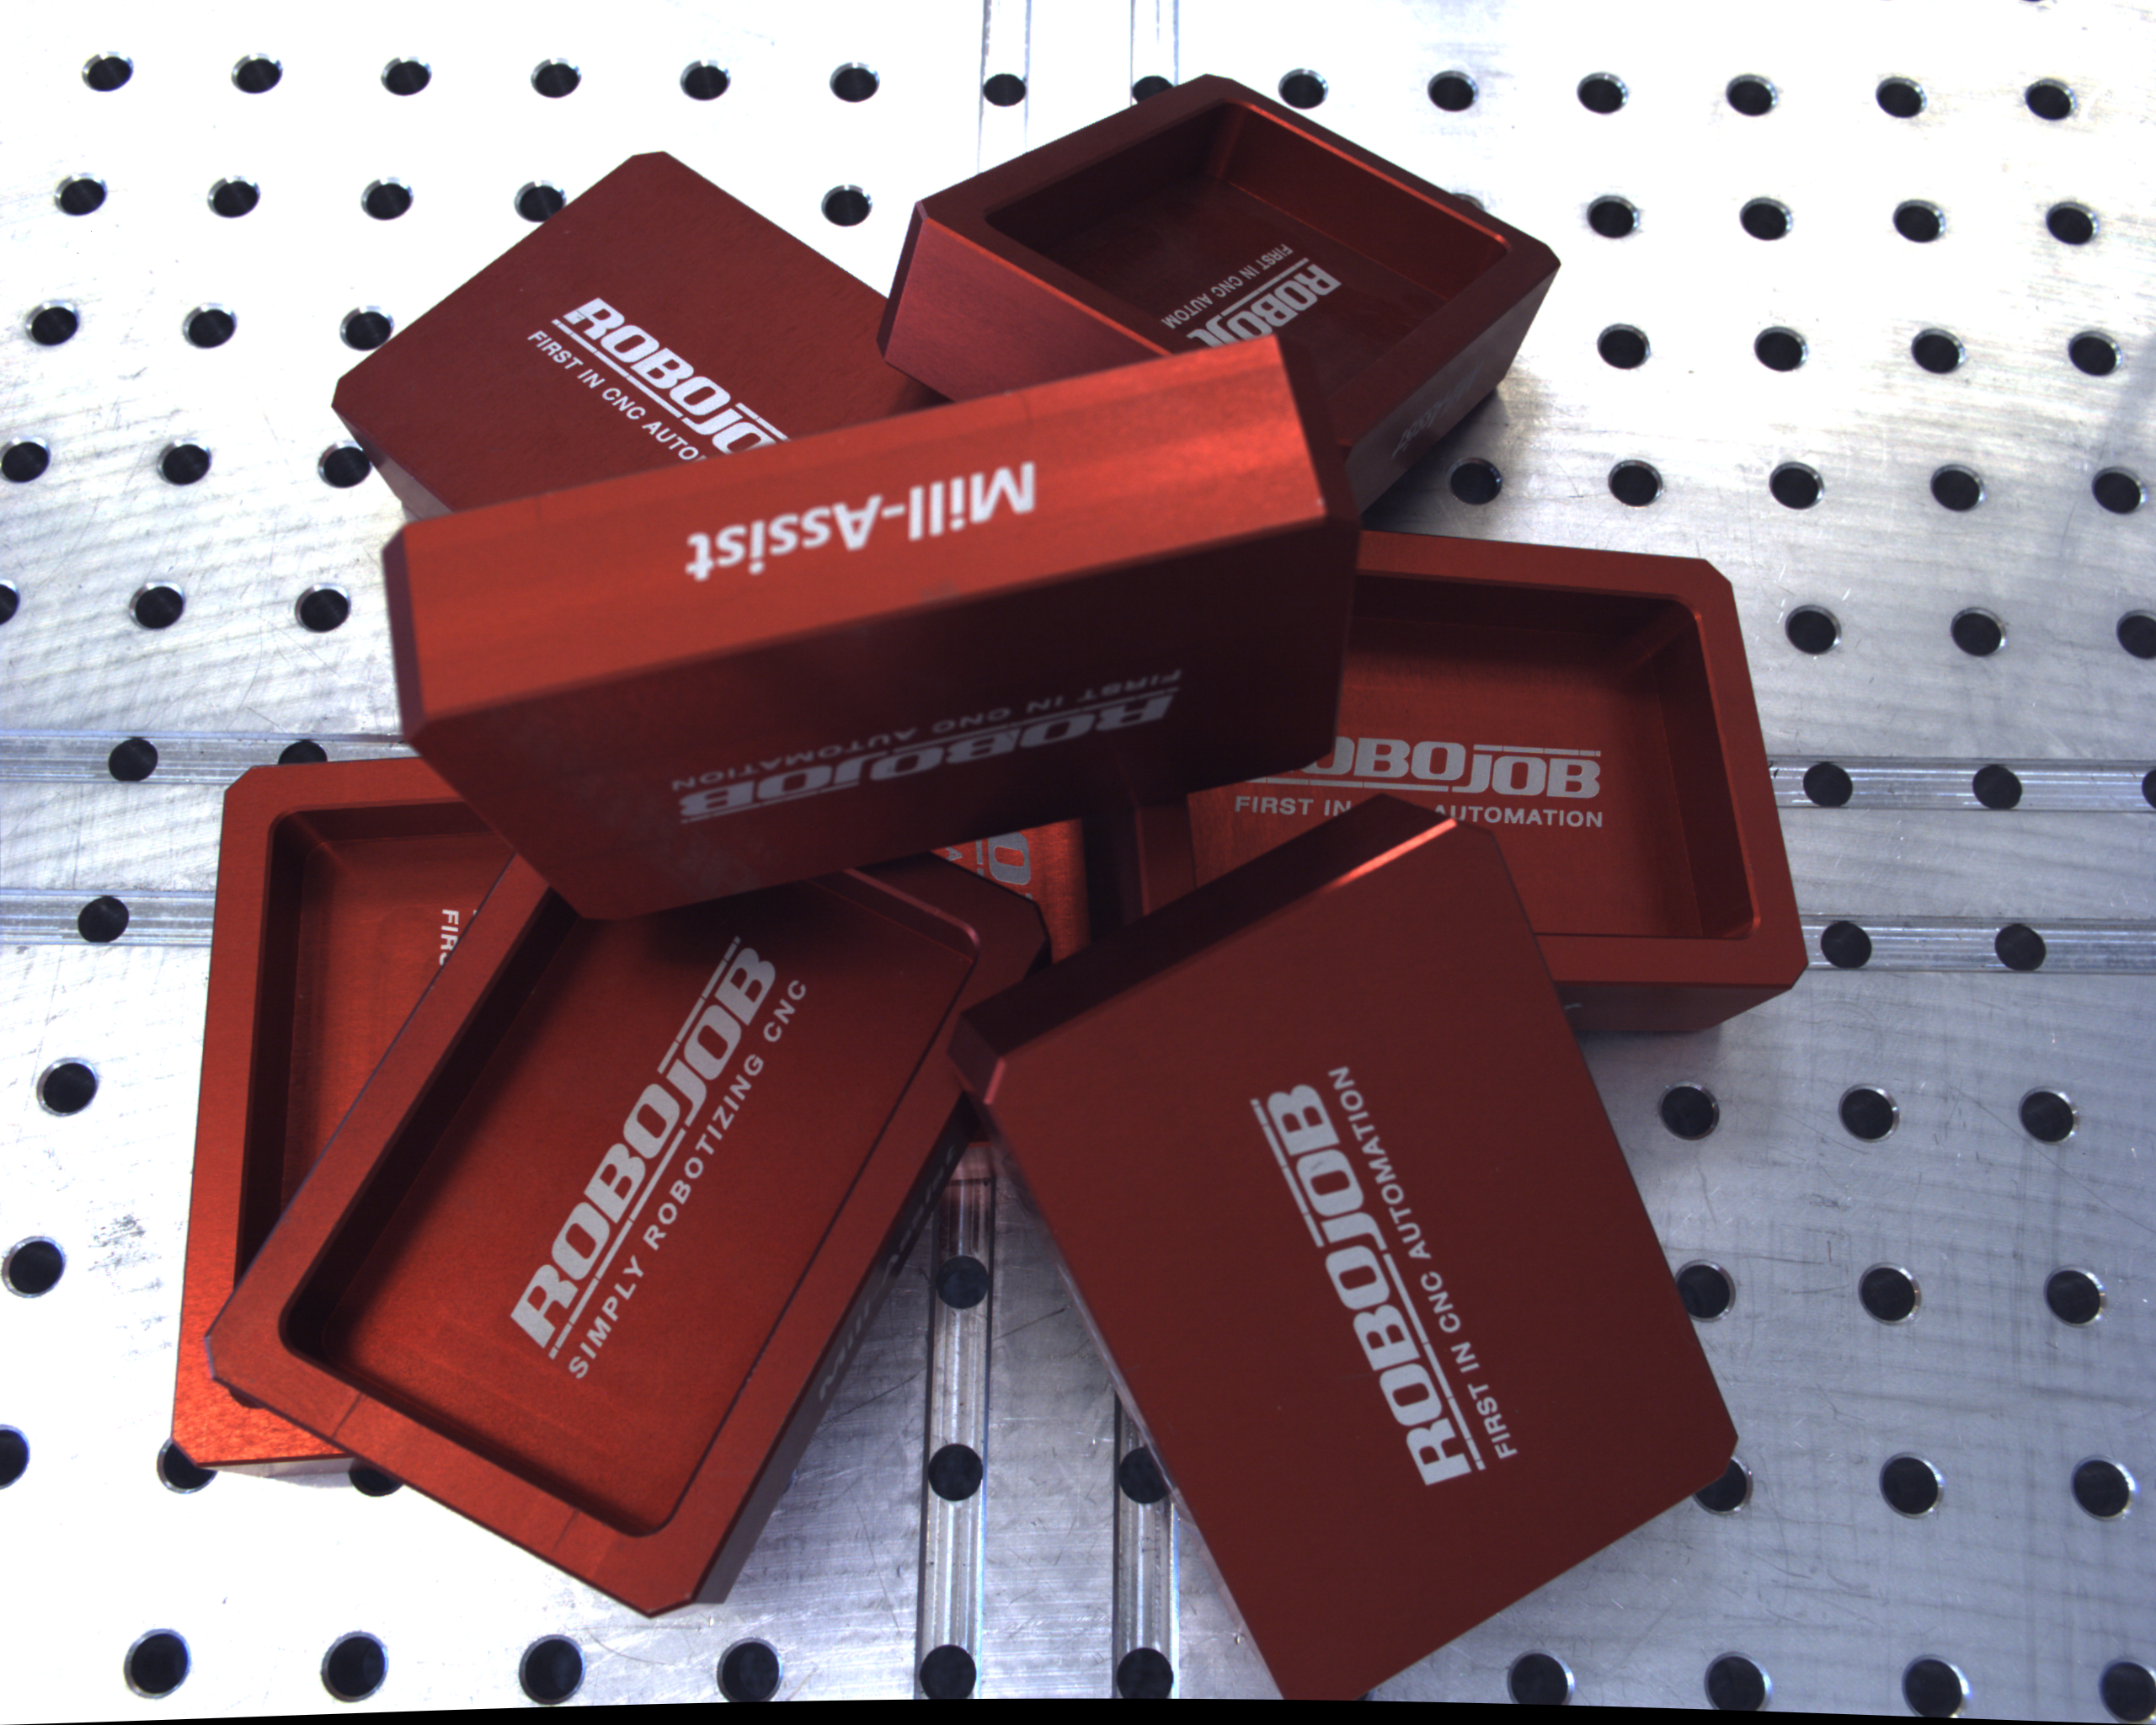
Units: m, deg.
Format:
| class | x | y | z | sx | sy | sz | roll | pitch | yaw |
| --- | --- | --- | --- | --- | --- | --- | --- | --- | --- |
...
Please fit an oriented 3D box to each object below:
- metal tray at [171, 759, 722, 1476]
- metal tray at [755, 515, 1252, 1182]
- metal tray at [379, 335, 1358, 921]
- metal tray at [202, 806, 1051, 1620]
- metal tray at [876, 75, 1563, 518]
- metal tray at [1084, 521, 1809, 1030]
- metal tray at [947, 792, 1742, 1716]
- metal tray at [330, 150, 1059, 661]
| class | x | y | z | sx | sy | sz | roll | pitch | yaw |
| --- | --- | --- | --- | --- | --- | --- | --- | --- | --- |
| metal tray | -0.114 | 0.045 | 0.393 | 0.091 | 0.030 | 0.130 | -4 | 69 | -2 |
| metal tray | -0.018 | -0.005 | 0.411 | 0.091 | 0.030 | 0.130 | -4 | 68 | -3 |
| metal tray | -0.026 | -0.031 | 0.320 | 0.131 | 0.090 | 0.030 | -13 | 71 | 0 |
| metal tray | -0.072 | 0.049 | 0.358 | 0.090 | 0.030 | 0.130 | 25 | 72 | 9 |
| metal tray | 0.033 | -0.111 | 0.414 | 0.090 | 0.030 | 0.131 | 32 | 40 | 11 |
| metal tray | 0.067 | -0.015 | 0.396 | 0.131 | 0.030 | 0.090 | 2 | 69 | -18 |
| metal tray | 0.047 | 0.065 | 0.350 | 0.090 | 0.030 | 0.130 | -28 | 106 | -9 |
| metal tray | -0.078 | -0.084 | 0.421 | 0.090 | 0.030 | 0.130 | -43 | 60 | -14 |
